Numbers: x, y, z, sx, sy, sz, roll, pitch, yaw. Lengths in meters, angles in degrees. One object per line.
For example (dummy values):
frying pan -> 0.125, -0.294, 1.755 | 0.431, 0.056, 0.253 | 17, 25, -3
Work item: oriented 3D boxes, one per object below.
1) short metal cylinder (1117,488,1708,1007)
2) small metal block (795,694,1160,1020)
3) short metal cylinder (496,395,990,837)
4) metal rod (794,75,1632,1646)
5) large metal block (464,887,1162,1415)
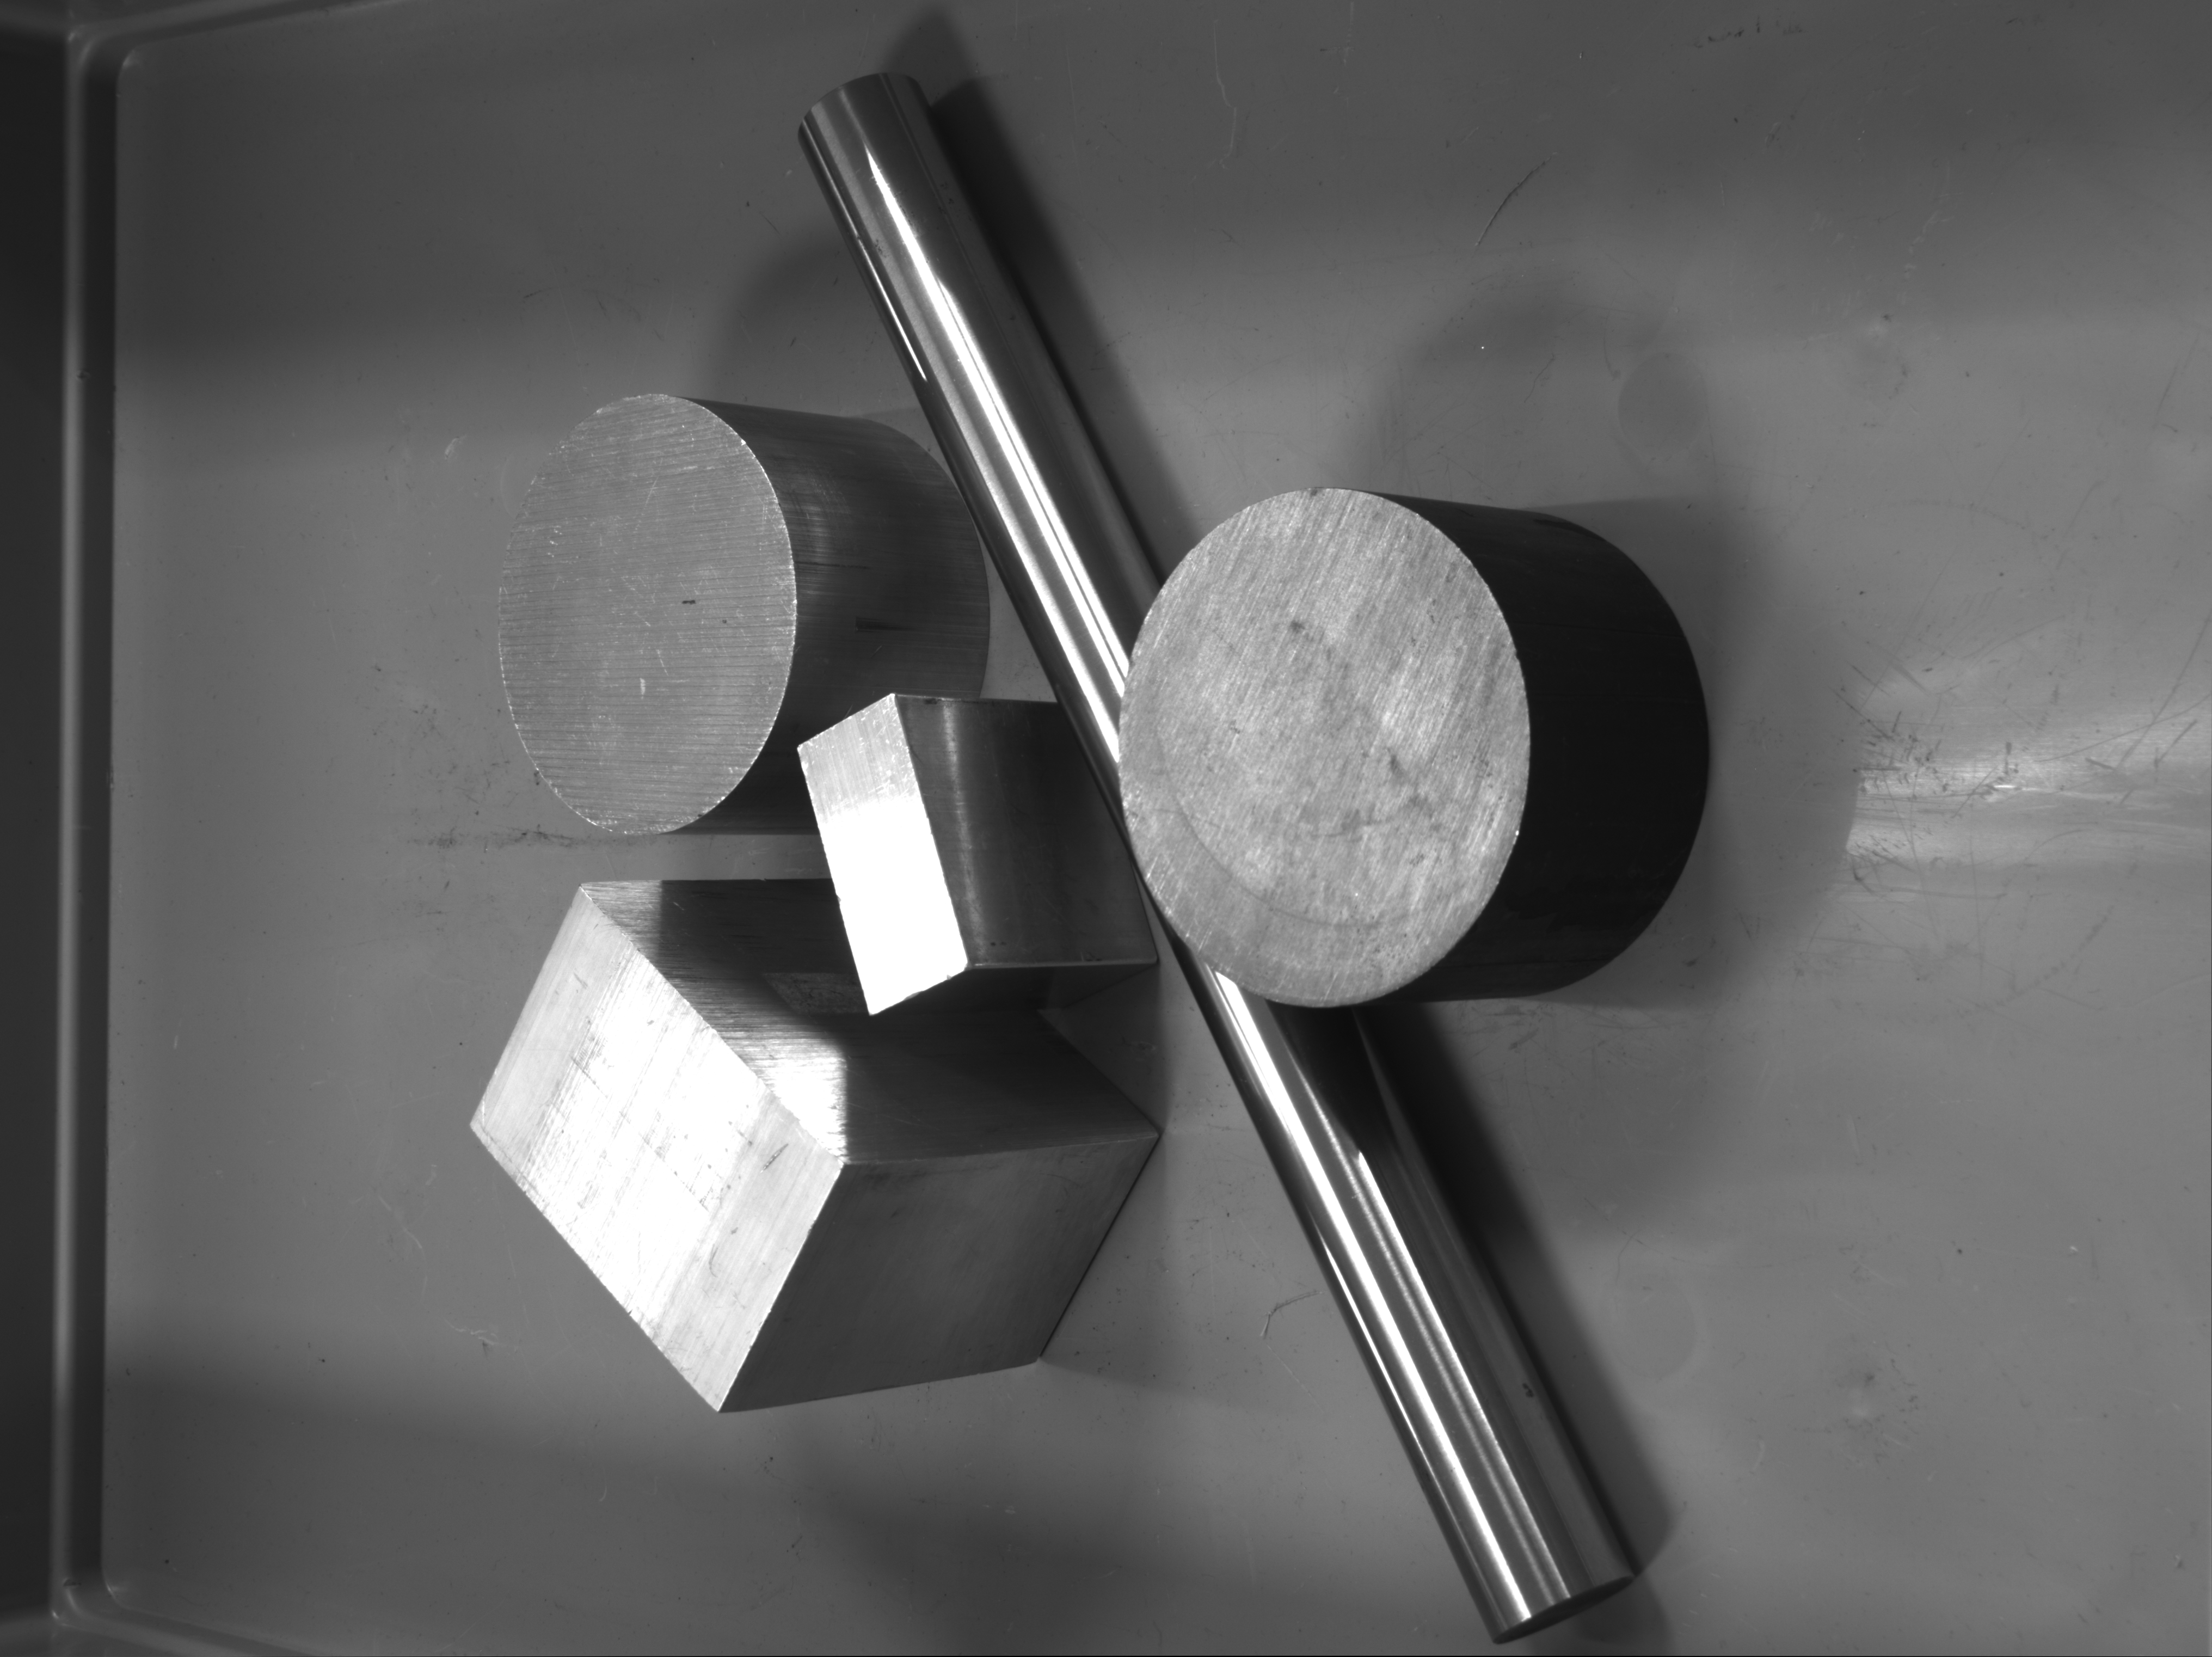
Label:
short metal cylinder -> 0.048, -0.012, 0.587 | 0.080, 0.050, 0.080 | 0, 90, 40
small metal block -> -0.022, 0.005, 0.646 | 0.025, 0.050, 0.050 | -27, 73, 37
short metal cylinder -> -0.068, -0.038, 0.685 | 0.080, 0.050, 0.080 | 0, 90, 40
metal rod -> 0.013, -0.004, 0.633 | 0.025, 0.025, 0.300 | -38, 66, 33
large metal block -> -0.052, 0.054, 0.650 | 0.080, 0.080, 0.050 | 42, 116, 33
